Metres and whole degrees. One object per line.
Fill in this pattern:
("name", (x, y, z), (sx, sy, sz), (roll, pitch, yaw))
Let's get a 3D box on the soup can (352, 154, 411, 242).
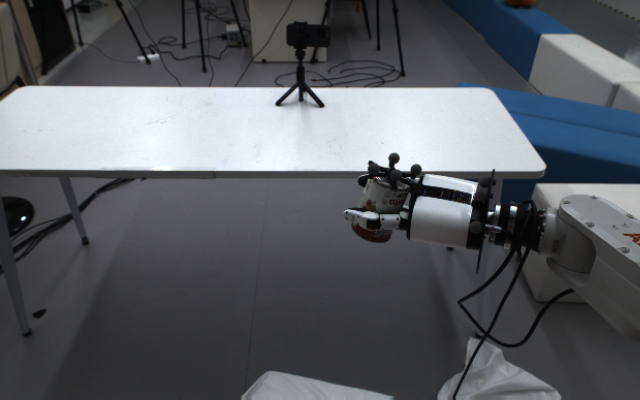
("soup can", (0.097, 0.007, 0.763), (0.067, 0.101, 0.067), (13, 30, -8))
